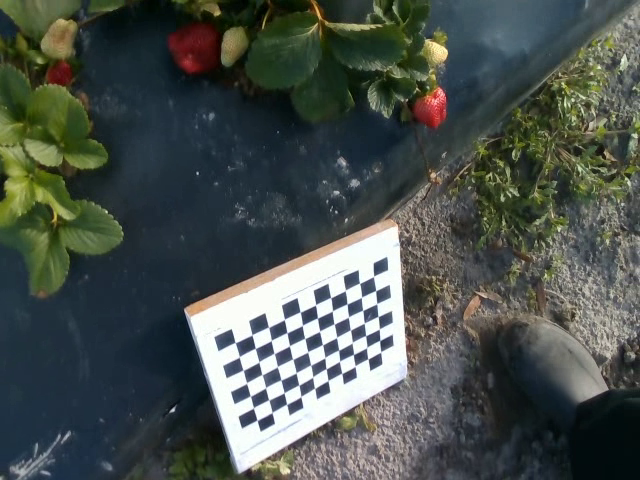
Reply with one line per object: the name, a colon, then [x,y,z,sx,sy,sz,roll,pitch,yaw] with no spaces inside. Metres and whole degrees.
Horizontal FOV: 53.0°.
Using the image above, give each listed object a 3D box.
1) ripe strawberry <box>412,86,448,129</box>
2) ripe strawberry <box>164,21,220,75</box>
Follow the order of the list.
ripe strawberry: [0.144,-0.161,0.773,0.047,0.050,0.034,-39,34,-8]
ripe strawberry: [-0.139,-0.207,0.691,0.057,0.058,0.070,20,32,30]
